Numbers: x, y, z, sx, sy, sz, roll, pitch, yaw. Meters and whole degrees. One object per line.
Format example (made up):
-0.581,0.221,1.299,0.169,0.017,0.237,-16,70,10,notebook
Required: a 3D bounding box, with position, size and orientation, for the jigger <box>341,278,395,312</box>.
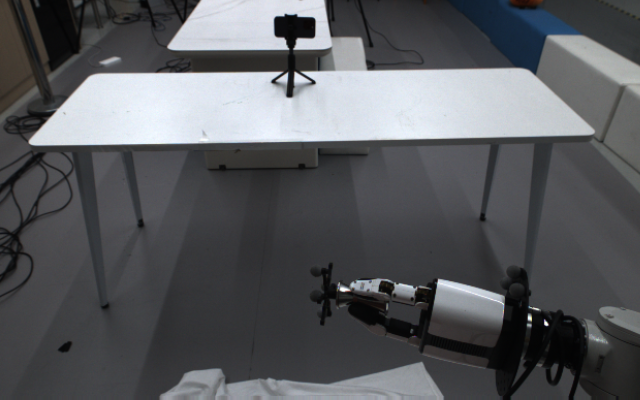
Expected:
0.067,0.128,0.662,0.071,0.043,0.043,2,34,13,jigger
